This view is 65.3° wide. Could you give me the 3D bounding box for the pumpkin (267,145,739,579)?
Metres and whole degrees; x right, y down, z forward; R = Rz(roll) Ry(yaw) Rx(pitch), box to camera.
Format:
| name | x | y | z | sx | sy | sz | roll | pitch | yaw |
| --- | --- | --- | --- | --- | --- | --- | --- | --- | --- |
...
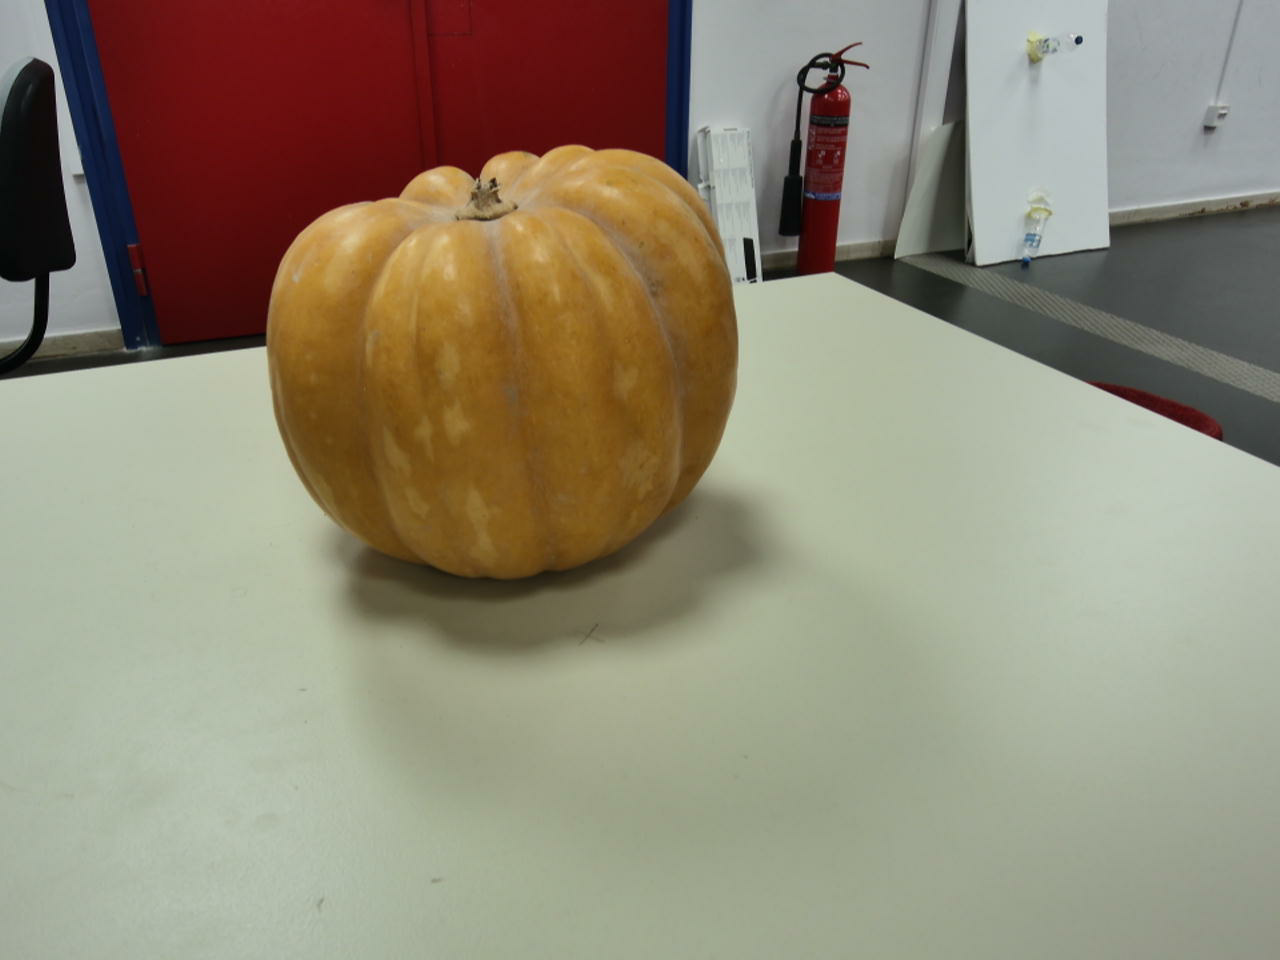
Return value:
| name | x | y | z | sx | sy | sz | roll | pitch | yaw |
| --- | --- | --- | --- | --- | --- | --- | --- | --- | --- |
| pumpkin | -0.061 | -0.058 | 0.490 | 0.230 | 0.194 | 0.230 | 1 | 26 | 0 |
